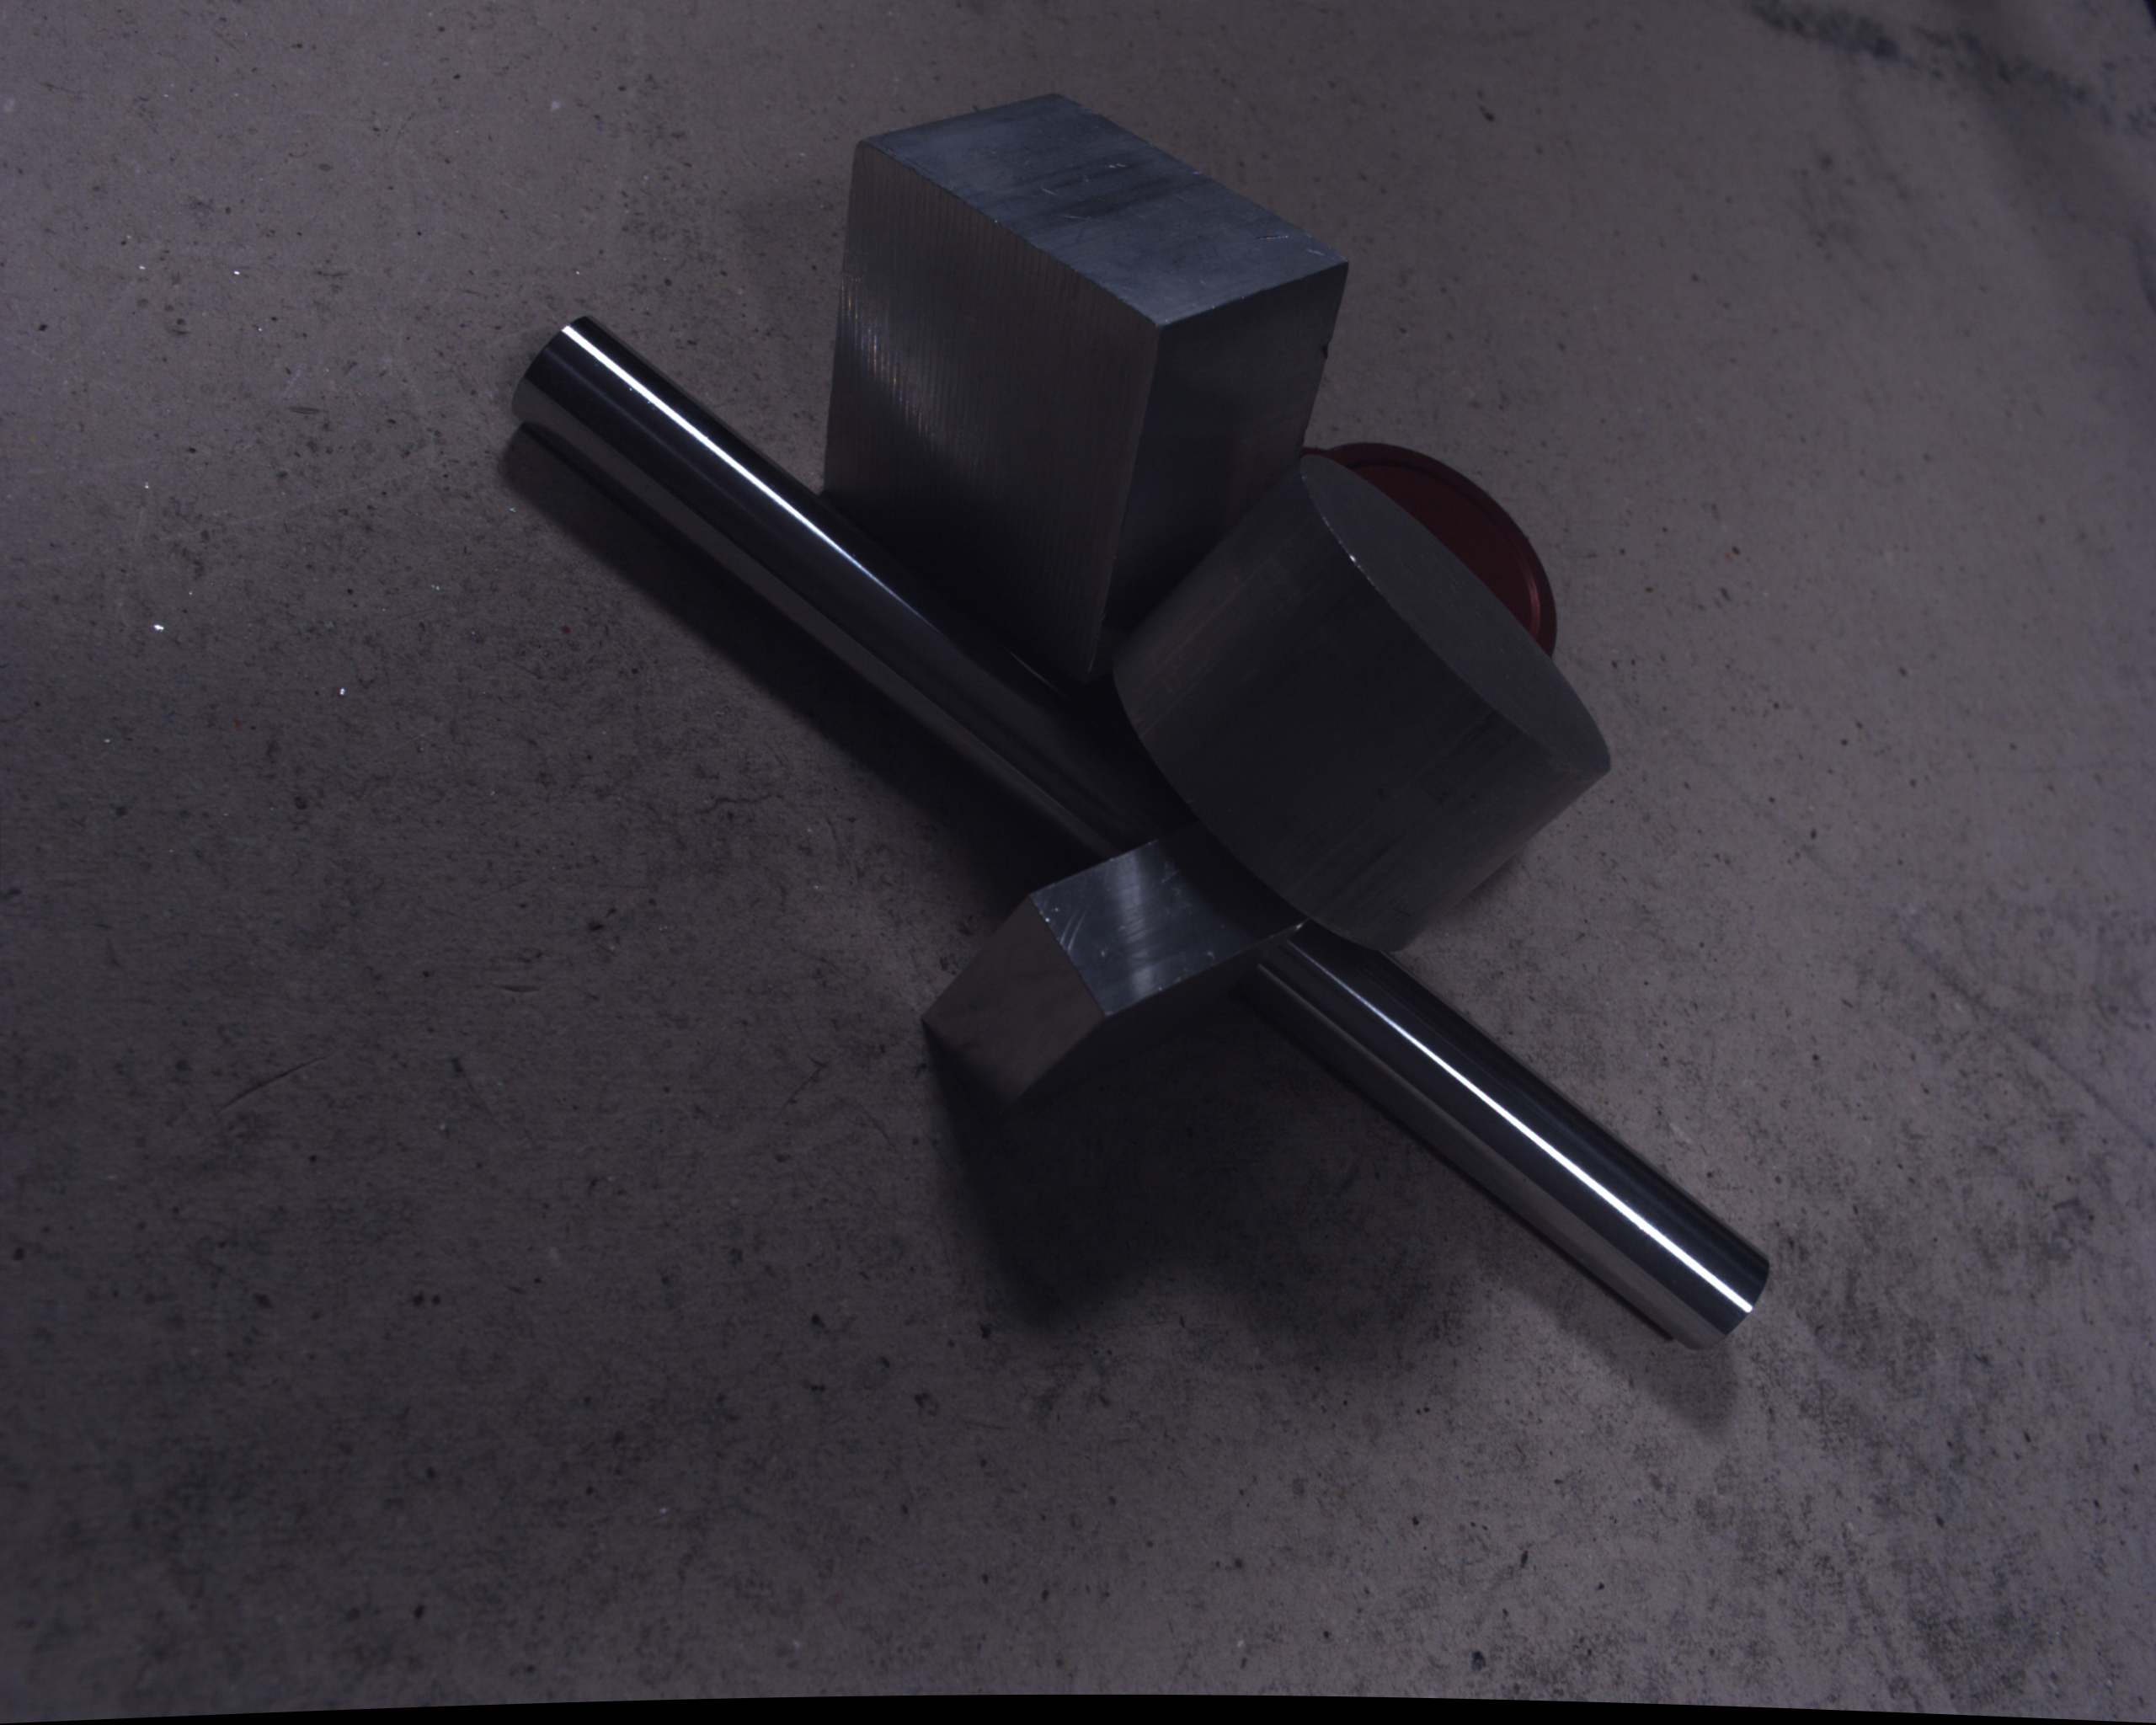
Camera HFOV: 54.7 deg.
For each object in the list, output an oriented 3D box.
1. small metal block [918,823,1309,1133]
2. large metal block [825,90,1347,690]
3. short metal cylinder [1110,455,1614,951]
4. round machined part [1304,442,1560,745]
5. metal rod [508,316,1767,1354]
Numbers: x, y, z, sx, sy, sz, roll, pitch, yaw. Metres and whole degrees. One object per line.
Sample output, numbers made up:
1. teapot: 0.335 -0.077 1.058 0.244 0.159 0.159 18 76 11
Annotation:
1. small metal block: 0.006 0.020 0.383 0.050 0.050 0.025 -23 74 -37
2. large metal block: -0.002 -0.095 0.415 0.080 0.079 0.050 38 48 26
3. short metal cylinder: 0.053 -0.030 0.390 0.080 0.050 0.080 36 24 -19
4. round machined part: 0.067 -0.054 0.465 0.099 0.042 0.098 14 56 -21
5. metal rod: 0.014 -0.004 0.417 0.300 0.025 0.025 39 51 -3
